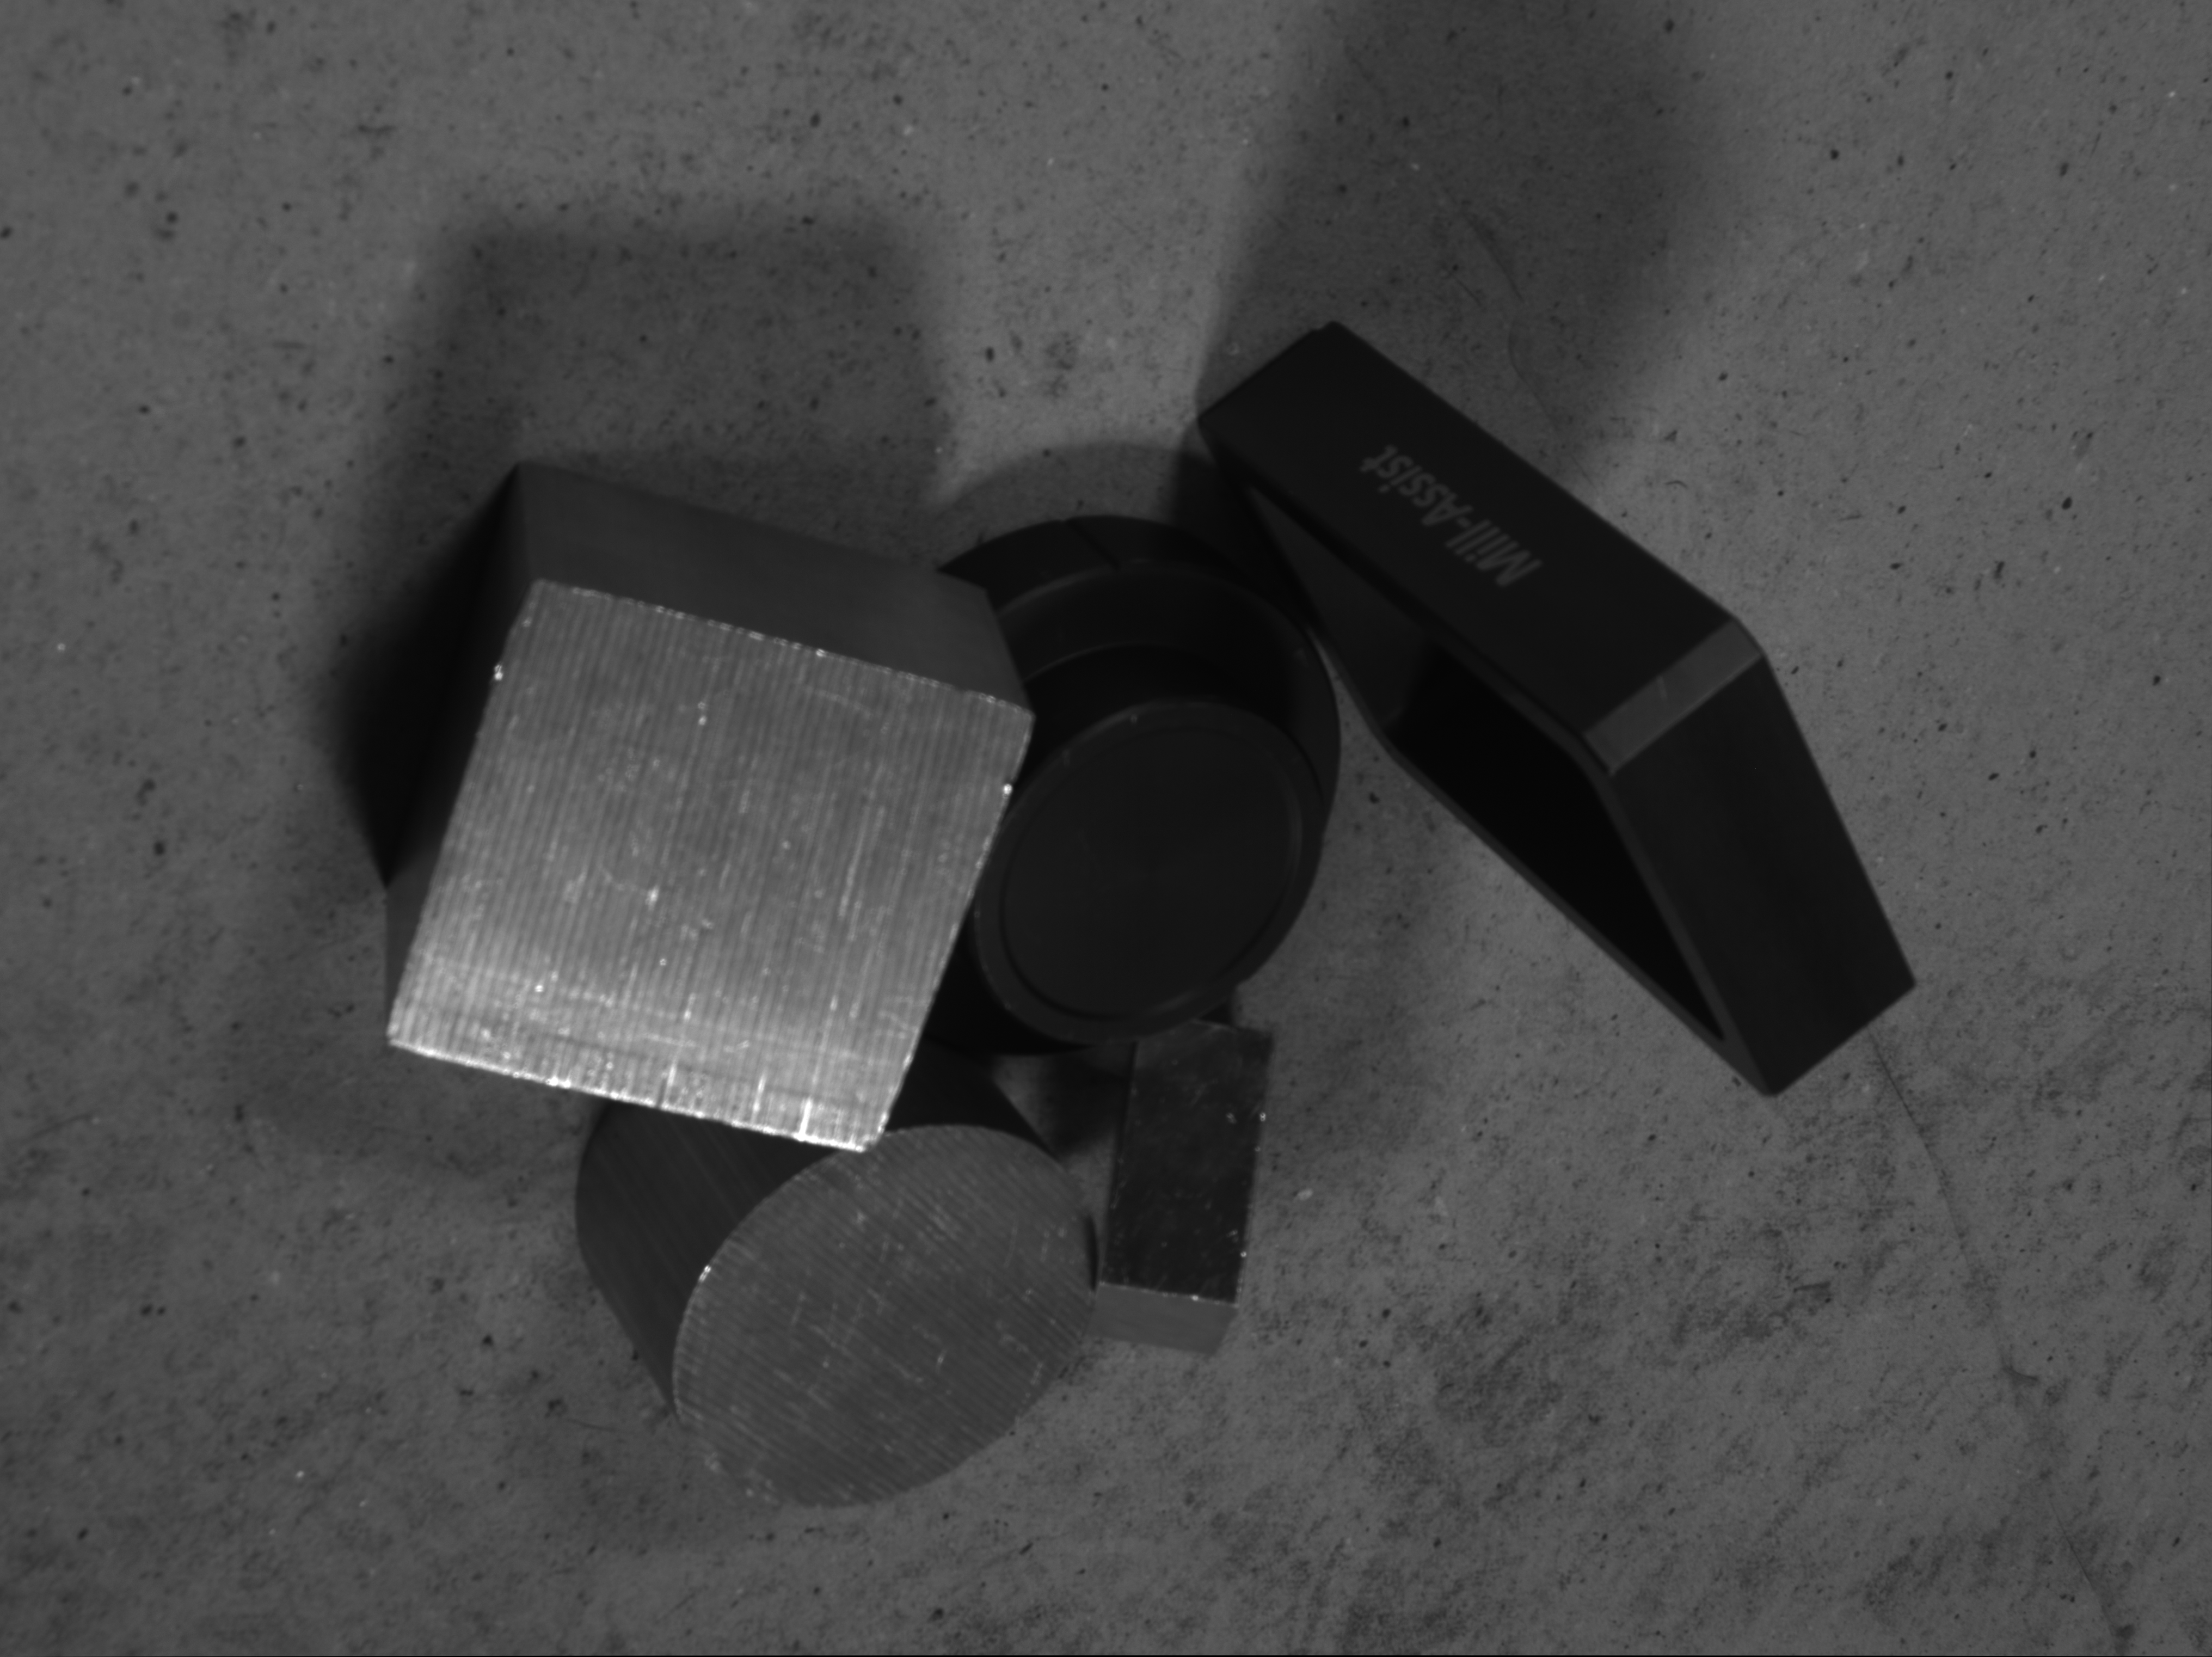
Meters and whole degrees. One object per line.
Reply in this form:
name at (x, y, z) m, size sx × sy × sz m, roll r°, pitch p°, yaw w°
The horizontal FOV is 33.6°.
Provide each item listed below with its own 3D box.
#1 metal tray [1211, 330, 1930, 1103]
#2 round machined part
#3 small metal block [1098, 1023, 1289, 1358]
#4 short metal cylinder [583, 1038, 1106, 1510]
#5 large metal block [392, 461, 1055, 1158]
metal tray at (0.075, -0.021, 0.612) m, size 0.030 × 0.130 × 0.090 m, roll -38°, pitch 130°, yaw -5°
round machined part at (0.001, -0.002, 0.640) m, size 0.098 × 0.042 × 0.098 m, roll -15°, pitch 125°, yaw -22°
small metal block at (0.015, 0.066, 0.670) m, size 0.025 × 0.050 × 0.050 m, roll 9°, pitch 162°, yaw 0°
short metal cylinder at (-0.047, 0.074, 0.654) m, size 0.080 × 0.050 × 0.080 m, roll -15°, pitch 125°, yaw -22°
large metal block at (-0.063, -0.003, 0.580) m, size 0.080 × 0.050 × 0.080 m, roll 15°, pitch 111°, yaw -18°
